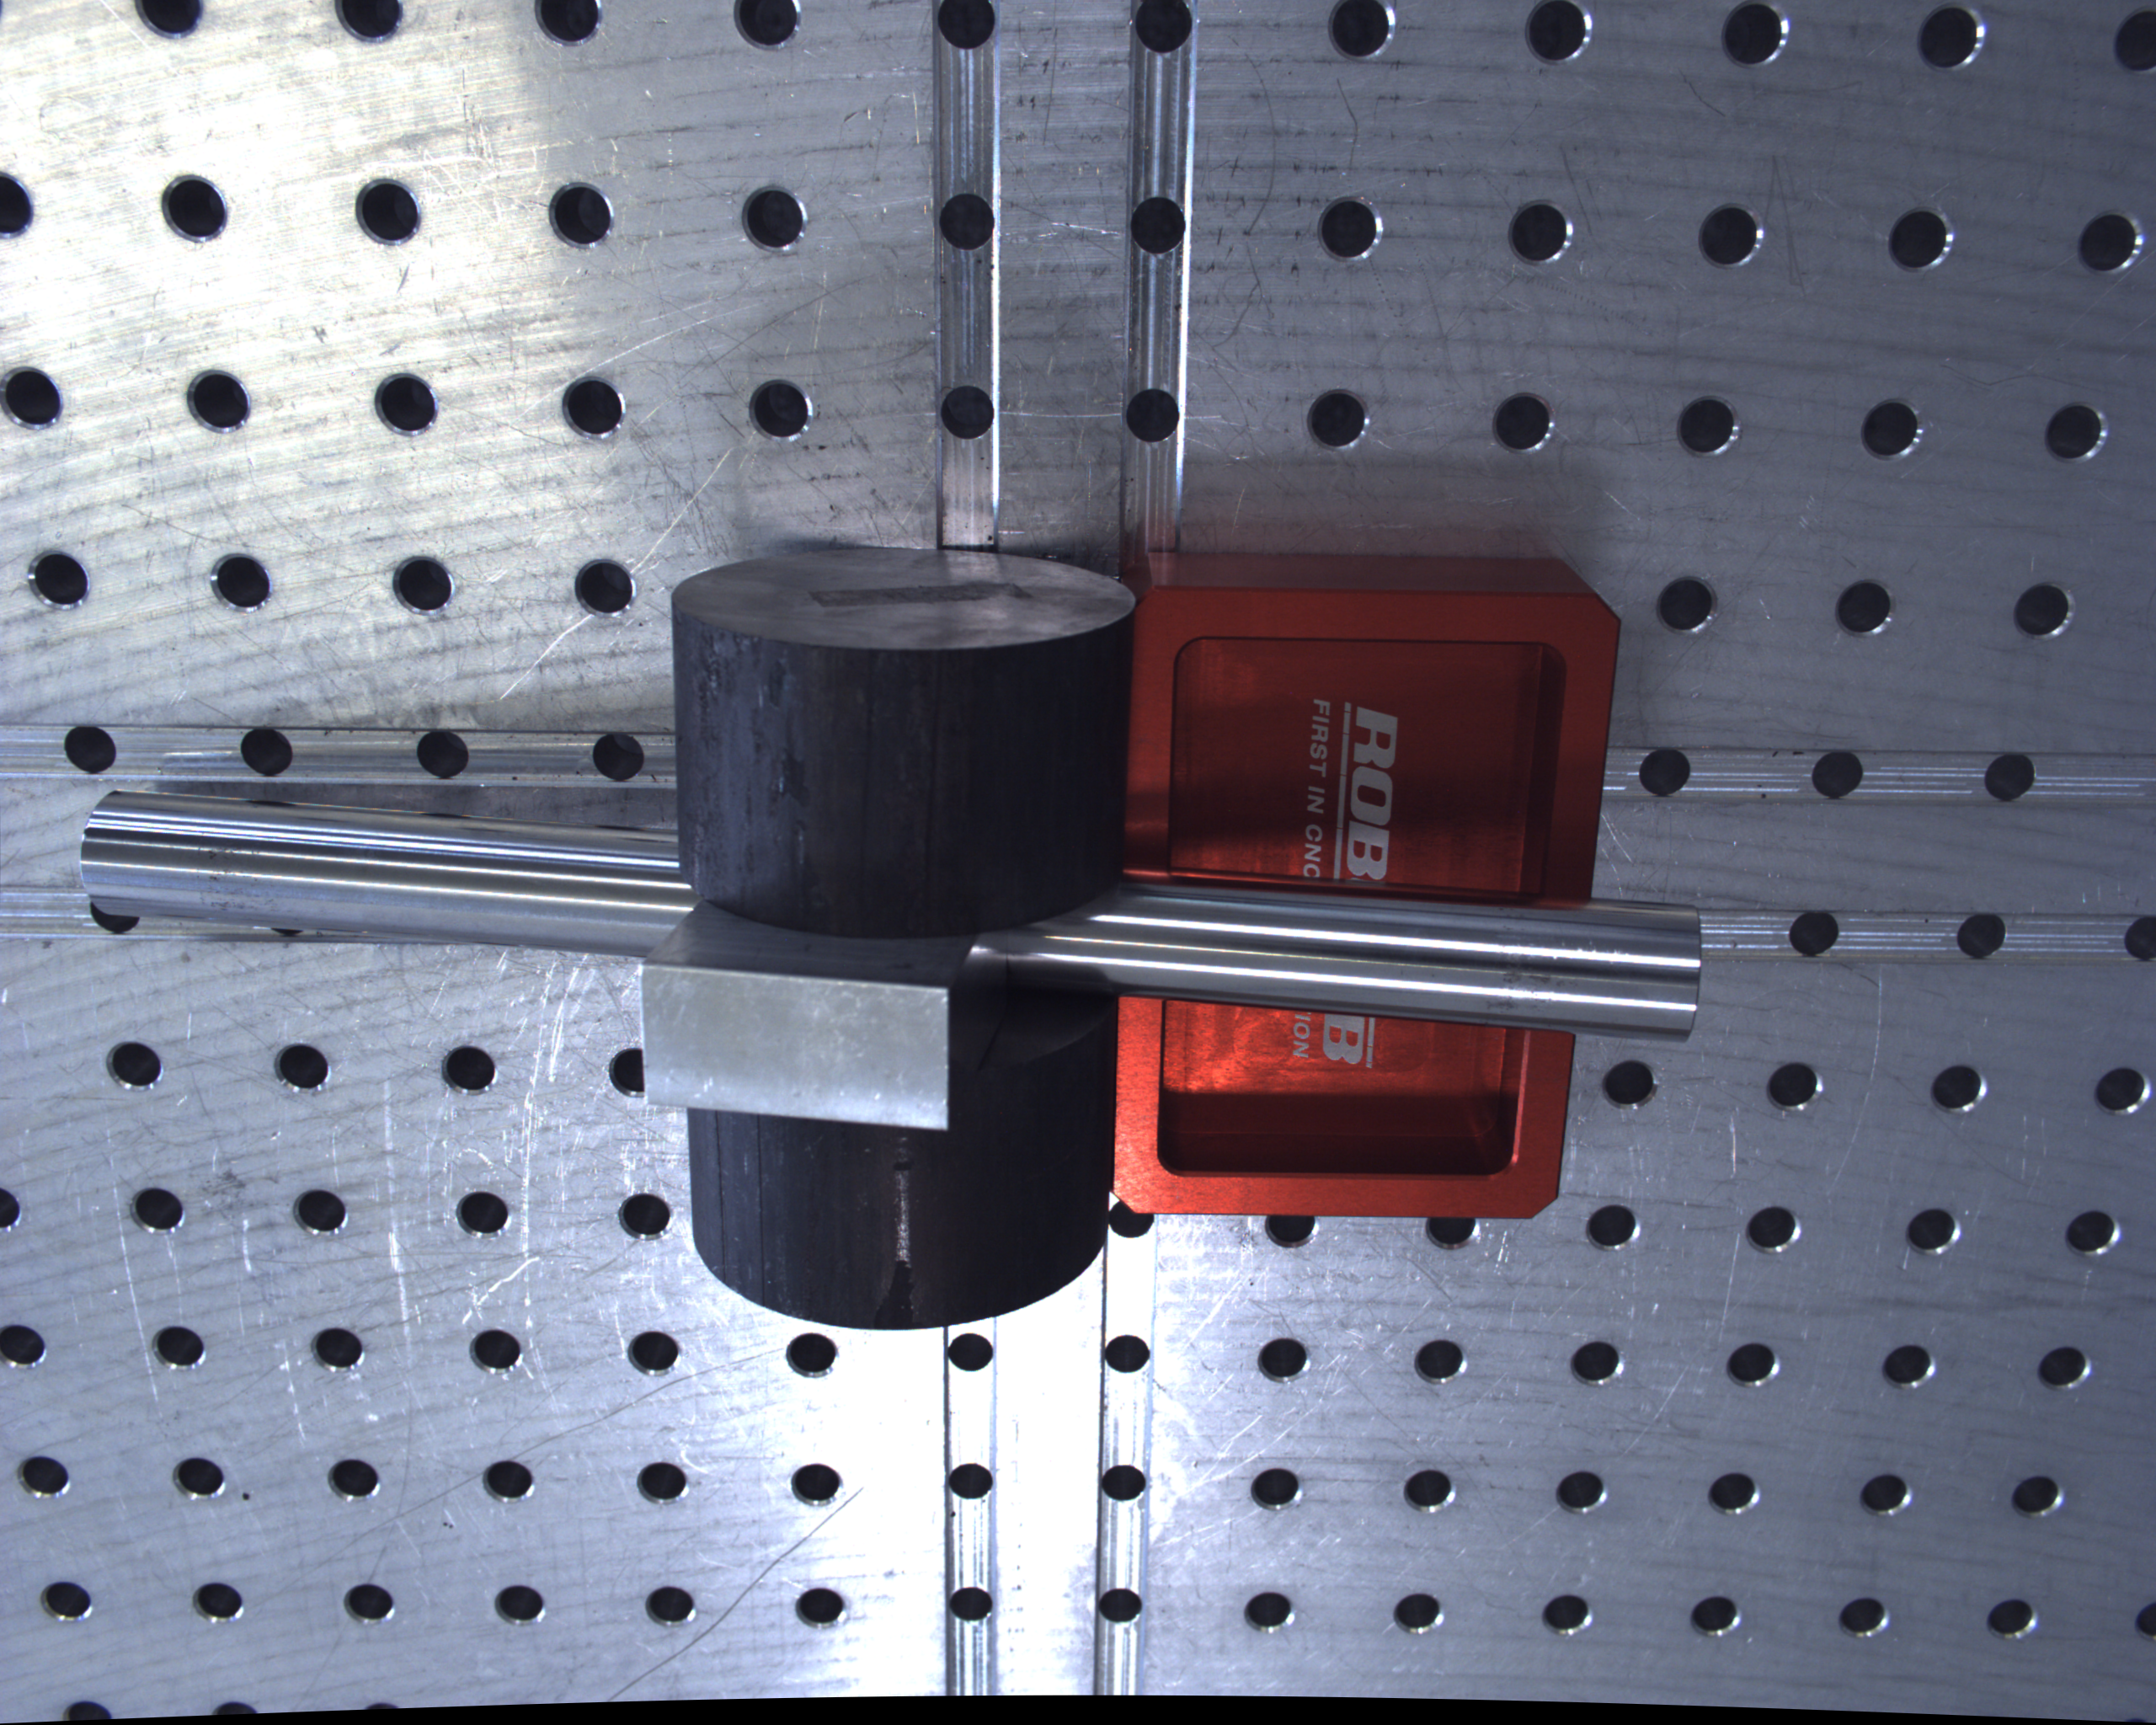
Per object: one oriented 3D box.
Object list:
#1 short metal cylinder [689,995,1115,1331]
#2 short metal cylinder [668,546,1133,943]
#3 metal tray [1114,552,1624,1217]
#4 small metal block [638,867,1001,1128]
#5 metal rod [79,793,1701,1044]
[{"bbox_3d":[-0.034,0.046,0.400,0.081,0.080,0.050,1,110,-1],"label":"short metal cylinder"},{"bbox_3d":[-0.031,-0.024,0.373,0.081,0.080,0.050,1,110,-1],"label":"short metal cylinder"},{"bbox_3d":[0.053,0.006,0.413,0.091,0.030,0.129,1,110,-1],"label":"metal tray"},{"bbox_3d":[-0.042,0.021,0.356,0.050,0.050,0.025,4,110,7],"label":"small metal block"},{"bbox_3d":[-0.040,0.009,0.391,0.302,0.025,0.025,4,110,7],"label":"metal rod"}]
